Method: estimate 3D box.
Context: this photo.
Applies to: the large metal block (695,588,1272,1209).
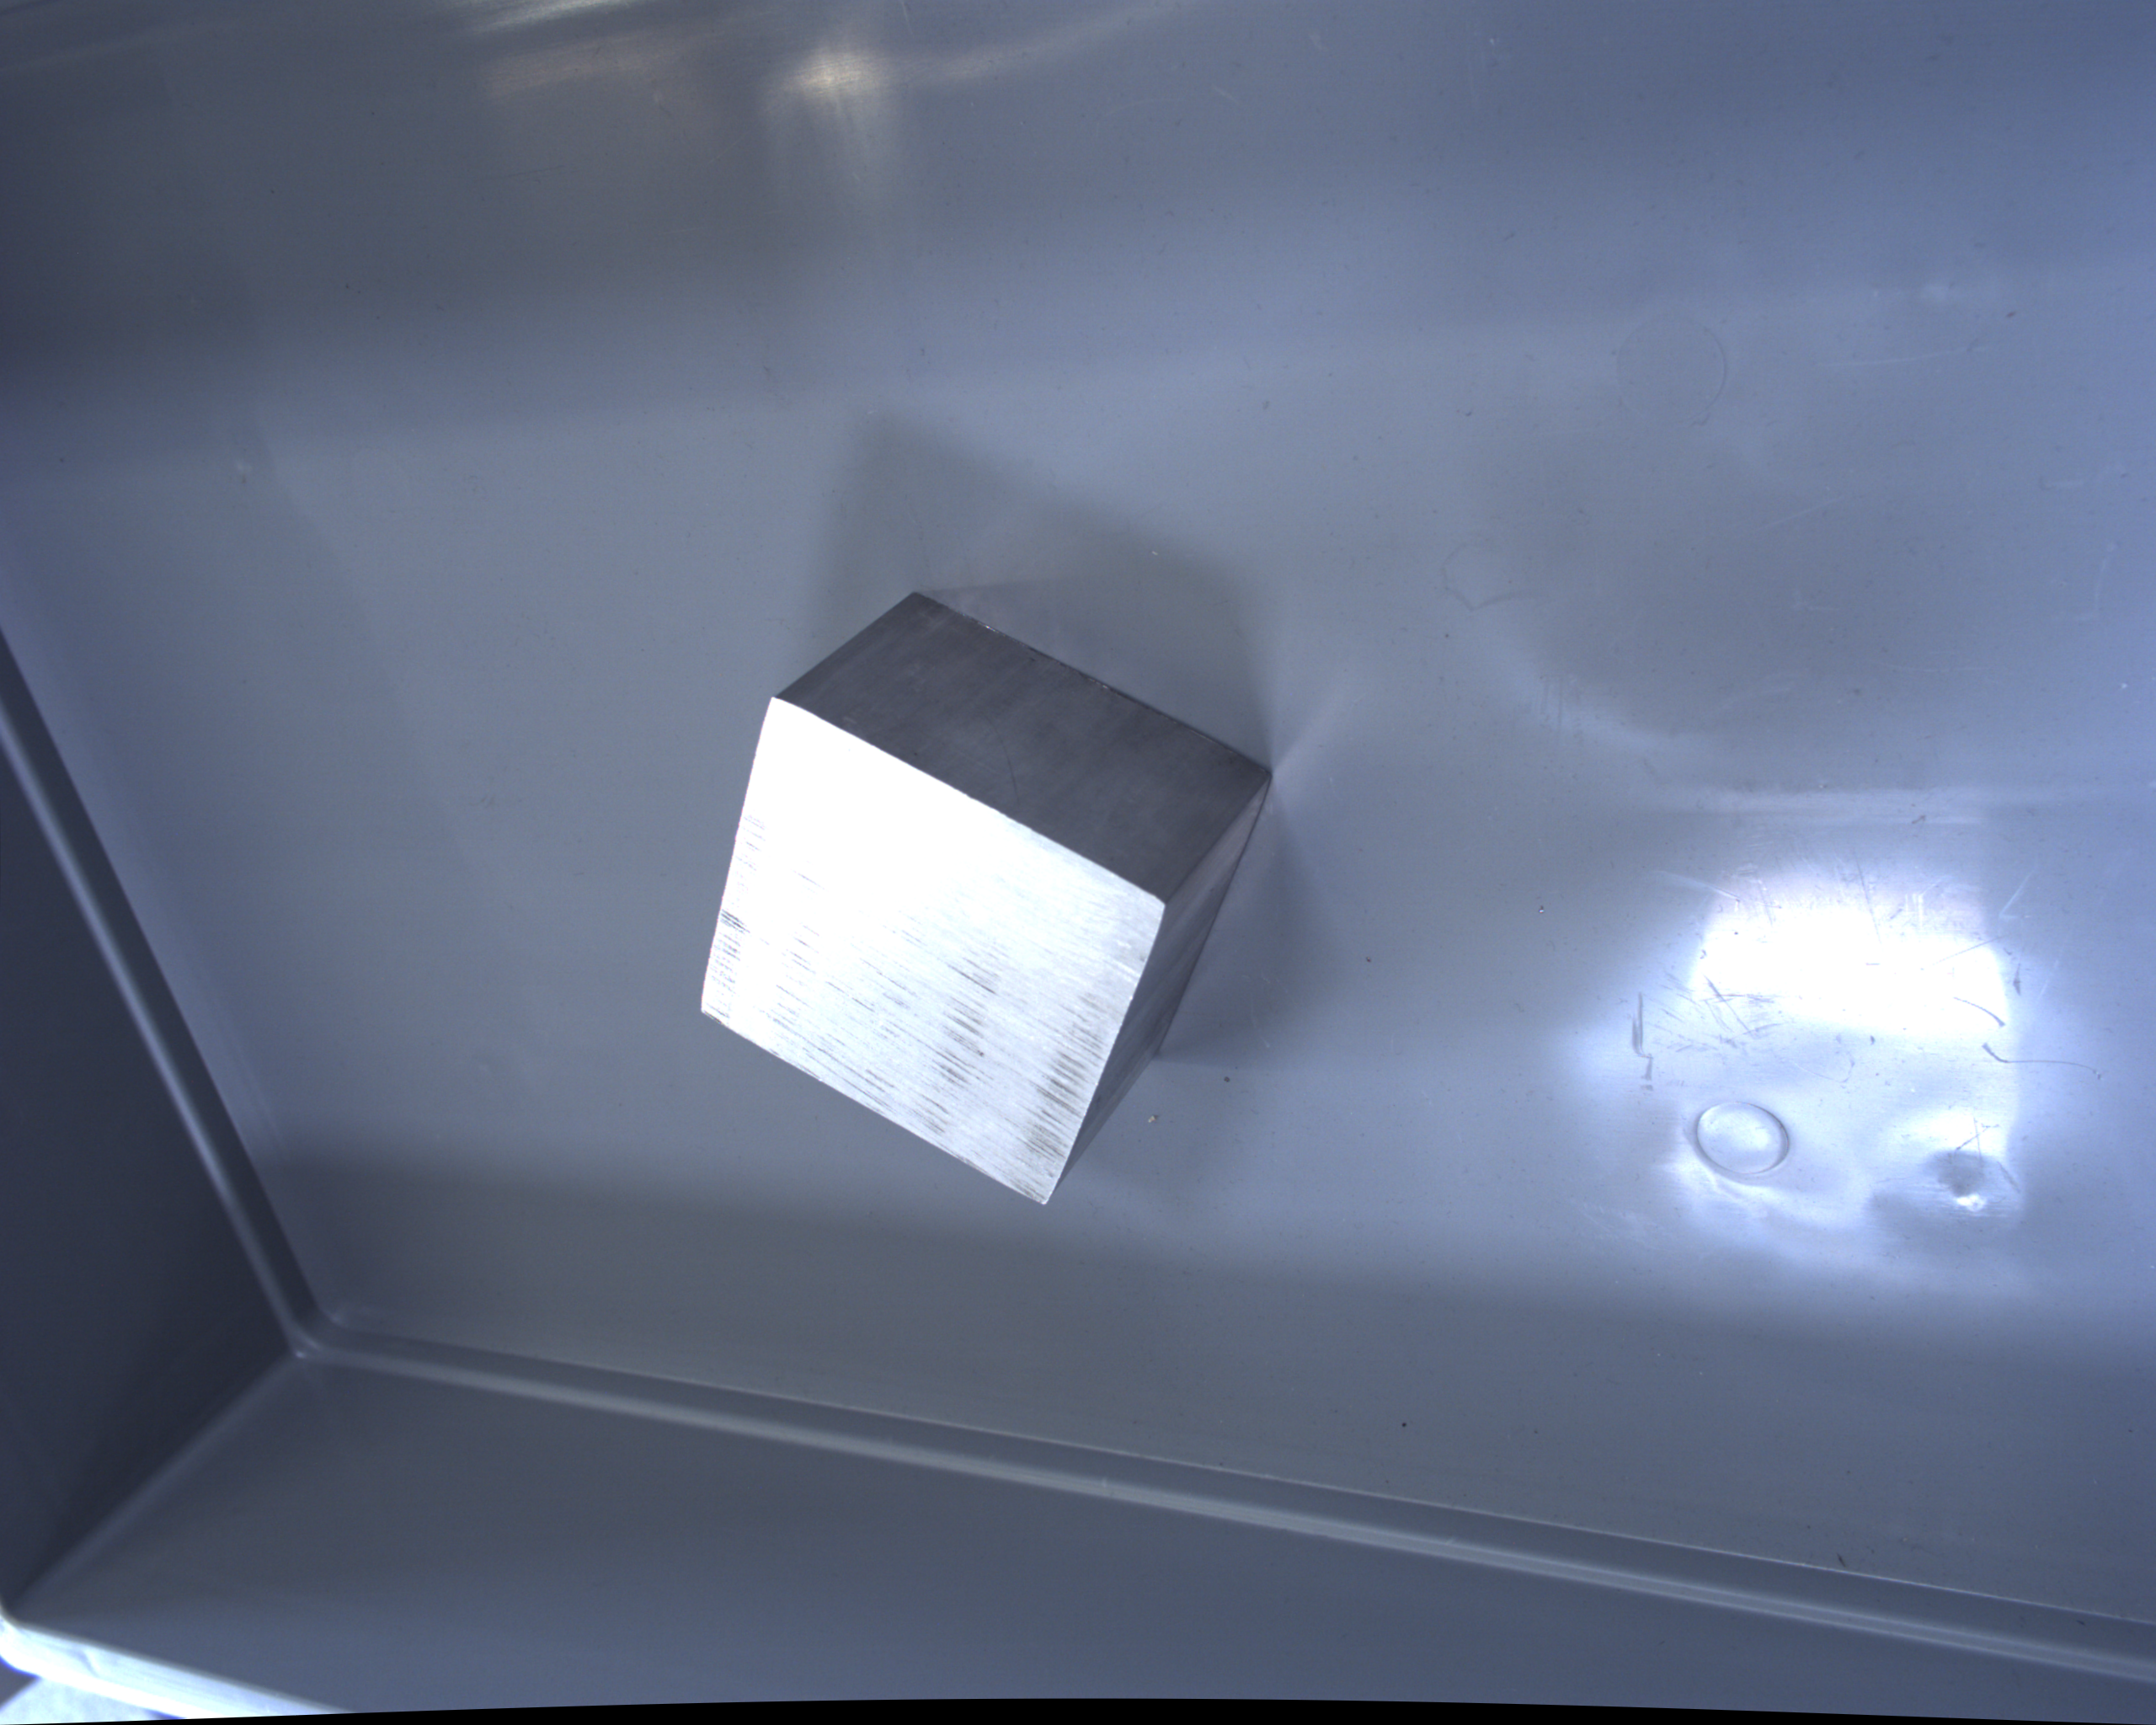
[{"bbox_3d":[-0.020,0.007,0.403,0.080,0.050,0.079,28,127,10],"label":"large metal block"}]
